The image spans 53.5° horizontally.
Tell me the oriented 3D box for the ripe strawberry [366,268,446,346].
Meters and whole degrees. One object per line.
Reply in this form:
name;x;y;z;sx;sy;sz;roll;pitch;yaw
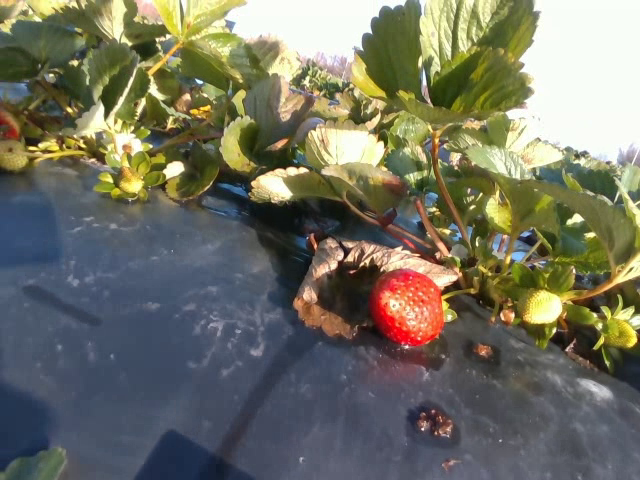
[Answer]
ripe strawberry;0.032;0.028;0.256;0.047;0.037;0.054;44;20;28
